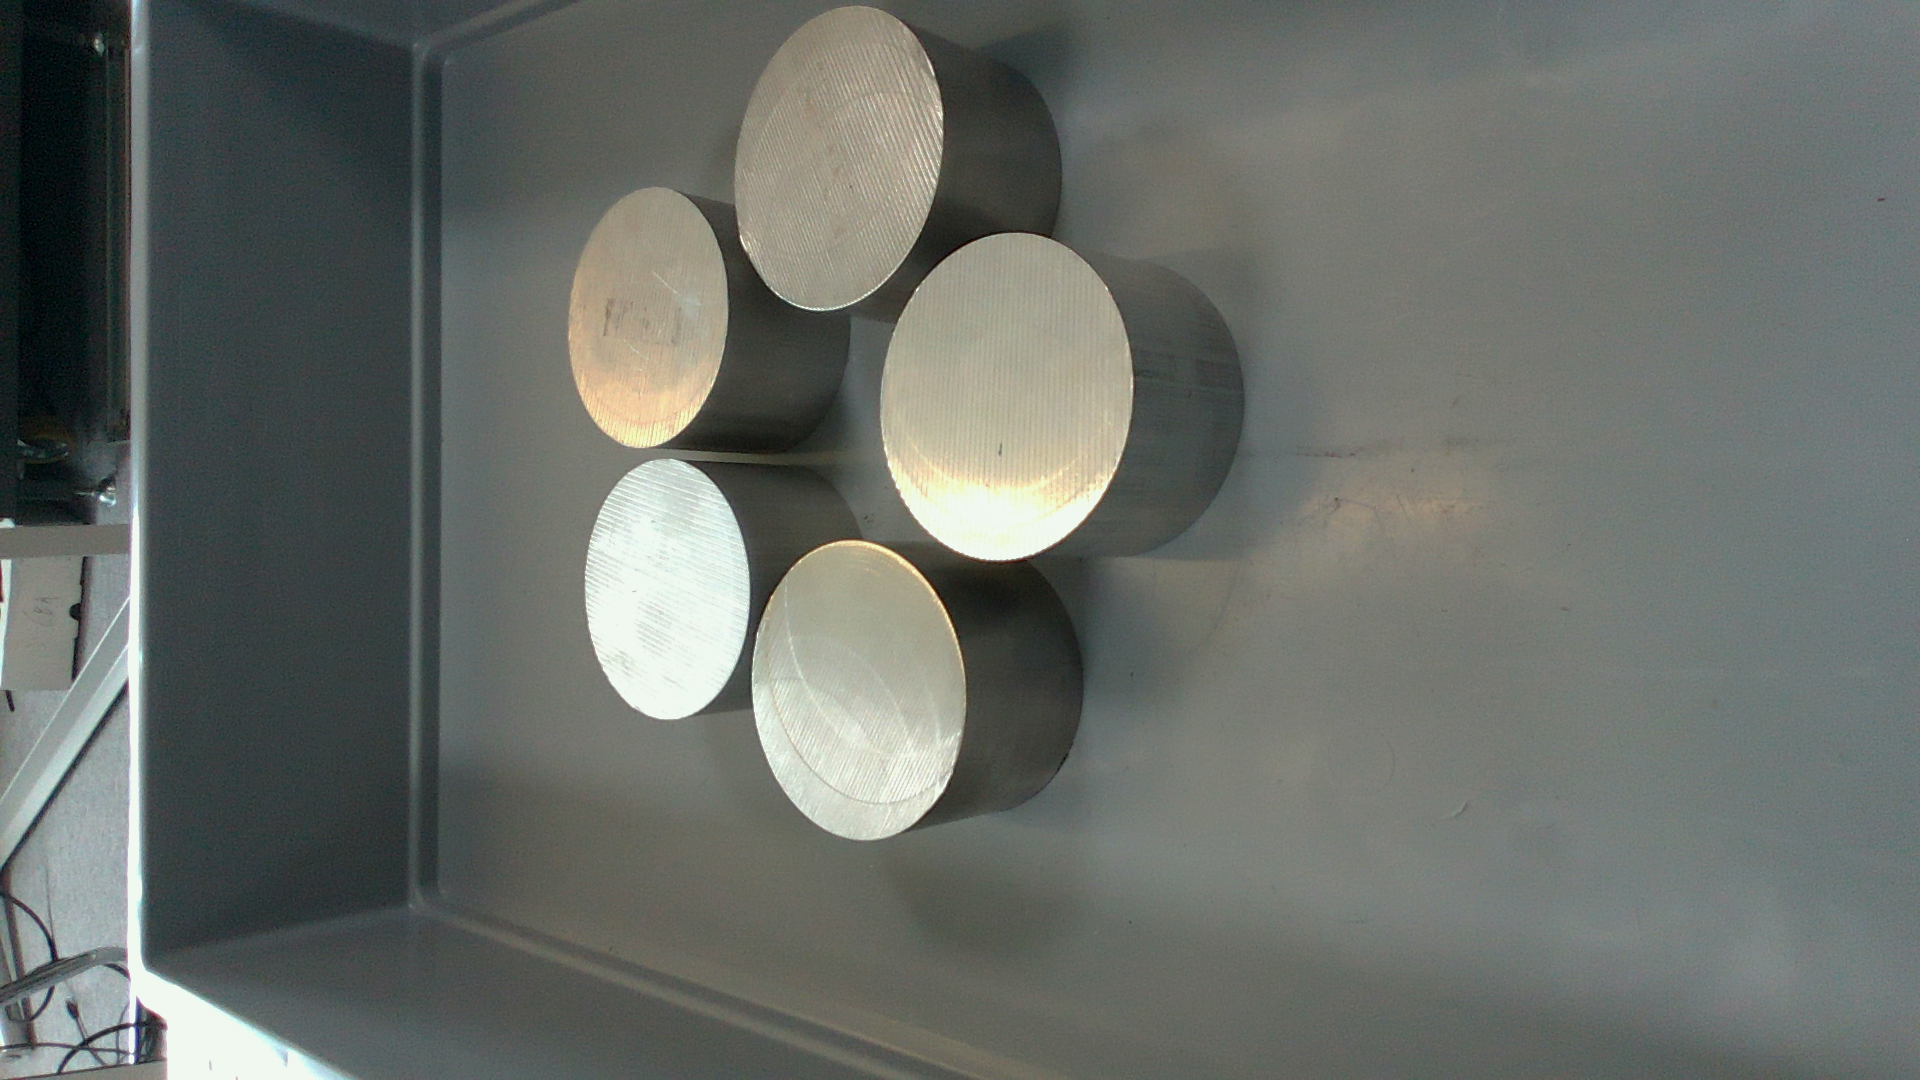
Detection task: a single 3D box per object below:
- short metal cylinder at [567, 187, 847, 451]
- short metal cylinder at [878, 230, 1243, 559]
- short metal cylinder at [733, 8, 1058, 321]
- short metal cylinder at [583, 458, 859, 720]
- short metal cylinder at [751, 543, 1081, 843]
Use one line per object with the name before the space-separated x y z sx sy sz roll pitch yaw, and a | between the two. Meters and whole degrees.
short metal cylinder | -0.083 -0.069 0.446 0.080 0.050 0.080 0 90 40
short metal cylinder | 0.025 -0.035 0.355 0.080 0.050 0.080 0 90 40
short metal cylinder | -0.019 -0.103 0.392 0.080 0.050 0.080 0 90 40
short metal cylinder | -0.076 0.015 0.440 0.080 0.050 0.080 0 90 40
short metal cylinder | -0.013 0.041 0.387 0.080 0.050 0.080 0 90 40
